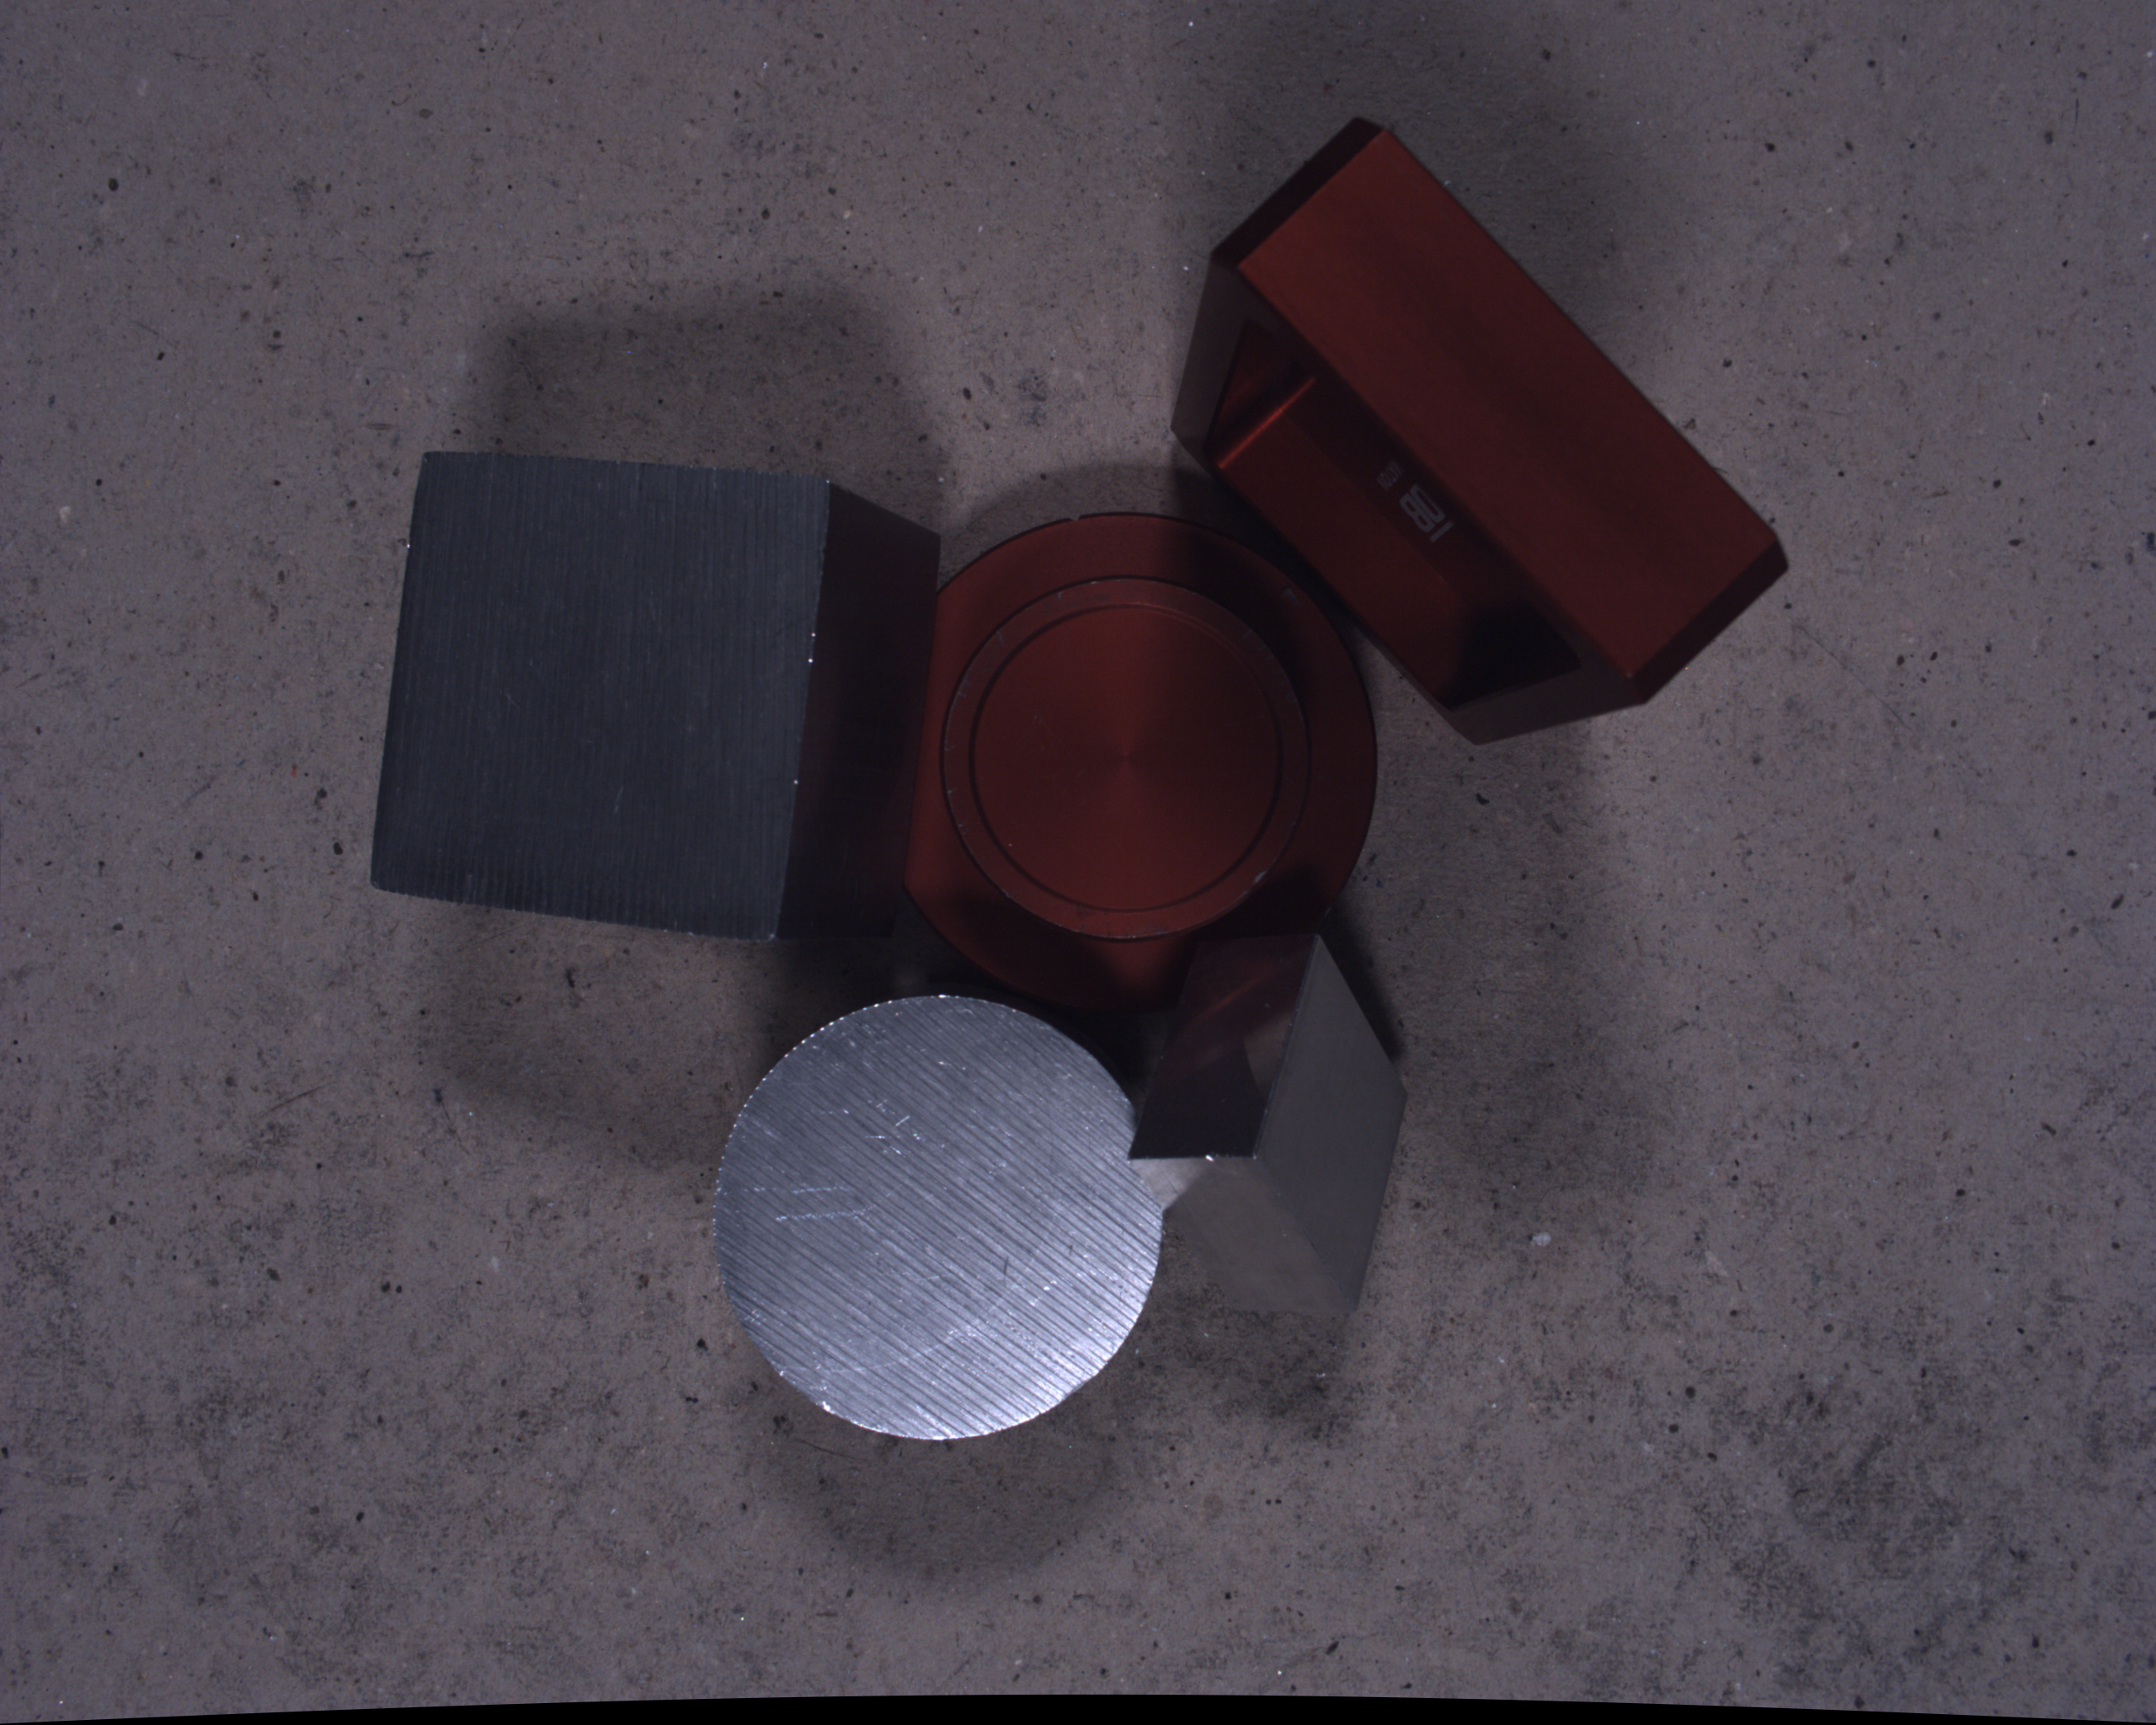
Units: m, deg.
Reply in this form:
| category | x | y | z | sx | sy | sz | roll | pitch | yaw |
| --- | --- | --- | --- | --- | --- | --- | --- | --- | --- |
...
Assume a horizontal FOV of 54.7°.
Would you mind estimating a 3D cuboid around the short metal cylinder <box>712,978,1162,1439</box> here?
| category | x | y | z | sx | sy | sz | roll | pitch | yaw |
| --- | --- | --- | --- | --- | --- | --- | --- | --- | --- |
| short metal cylinder | -0.025 | 0.063 | 0.399 | 0.081 | 0.050 | 0.079 | 0 | 90 | -1 |

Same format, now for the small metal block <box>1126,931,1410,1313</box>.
| category | x | y | z | sx | sy | sz | roll | pitch | yaw |
| --- | --- | --- | --- | --- | --- | --- | --- | --- | --- |
| small metal block | 0.037 | 0.049 | 0.388 | 0.025 | 0.050 | 0.050 | -6 | 135 | 30 |

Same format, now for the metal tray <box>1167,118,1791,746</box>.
| category | x | y | z | sx | sy | sz | roll | pitch | yaw |
| --- | --- | --- | --- | --- | --- | --- | --- | --- | --- |
| metal tray | 0.060 | -0.065 | 0.358 | 0.030 | 0.130 | 0.090 | -44 | 91 | 0 |

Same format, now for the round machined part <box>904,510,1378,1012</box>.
| category | x | y | z | sx | sy | sz | roll | pitch | yaw |
| --- | --- | --- | --- | --- | --- | --- | --- | --- | --- |
| round machined part | 0.009 | -0.020 | 0.404 | 0.099 | 0.042 | 0.097 | 0 | 90 | -1 |

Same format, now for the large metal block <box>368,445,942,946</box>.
| category | x | y | z | sx | sy | sz | roll | pitch | yaw |
| --- | --- | --- | --- | --- | --- | --- | --- | --- | --- |
| large metal block | -0.076 | -0.030 | 0.385 | 0.080 | 0.050 | 0.079 | 7 | 90 | 16 |
